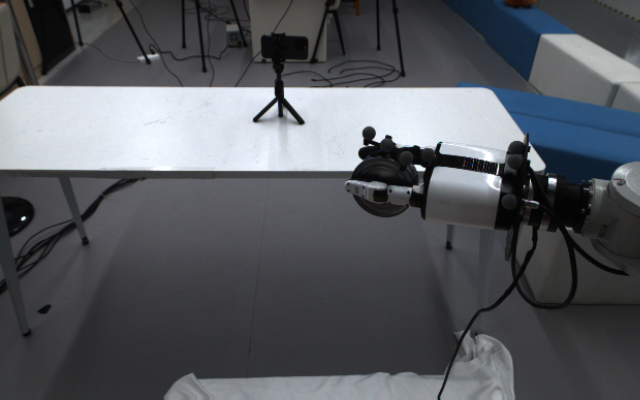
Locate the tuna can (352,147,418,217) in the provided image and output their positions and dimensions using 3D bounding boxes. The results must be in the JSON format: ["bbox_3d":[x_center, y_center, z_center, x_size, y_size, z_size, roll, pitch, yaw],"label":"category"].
[{"bbox_3d":[0.089,-0.023,0.643,0.085,0.085,0.034,16,28,19],"label":"tuna can"}]
